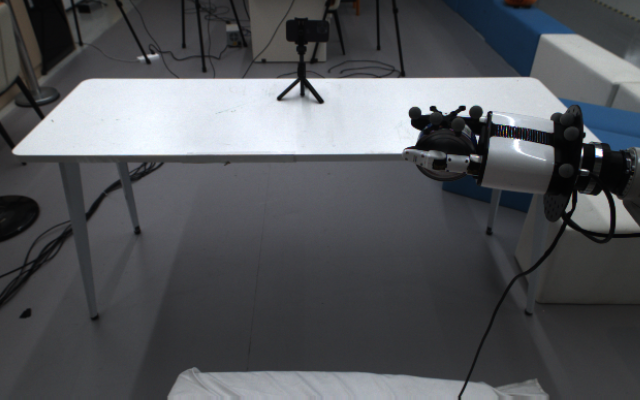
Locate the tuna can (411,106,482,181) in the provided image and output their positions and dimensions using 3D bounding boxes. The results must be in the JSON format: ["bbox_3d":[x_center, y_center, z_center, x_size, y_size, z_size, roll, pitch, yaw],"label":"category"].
[{"bbox_3d":[0.179,-0.072,0.686,0.085,0.085,0.034,12,39,13],"label":"tuna can"}]
